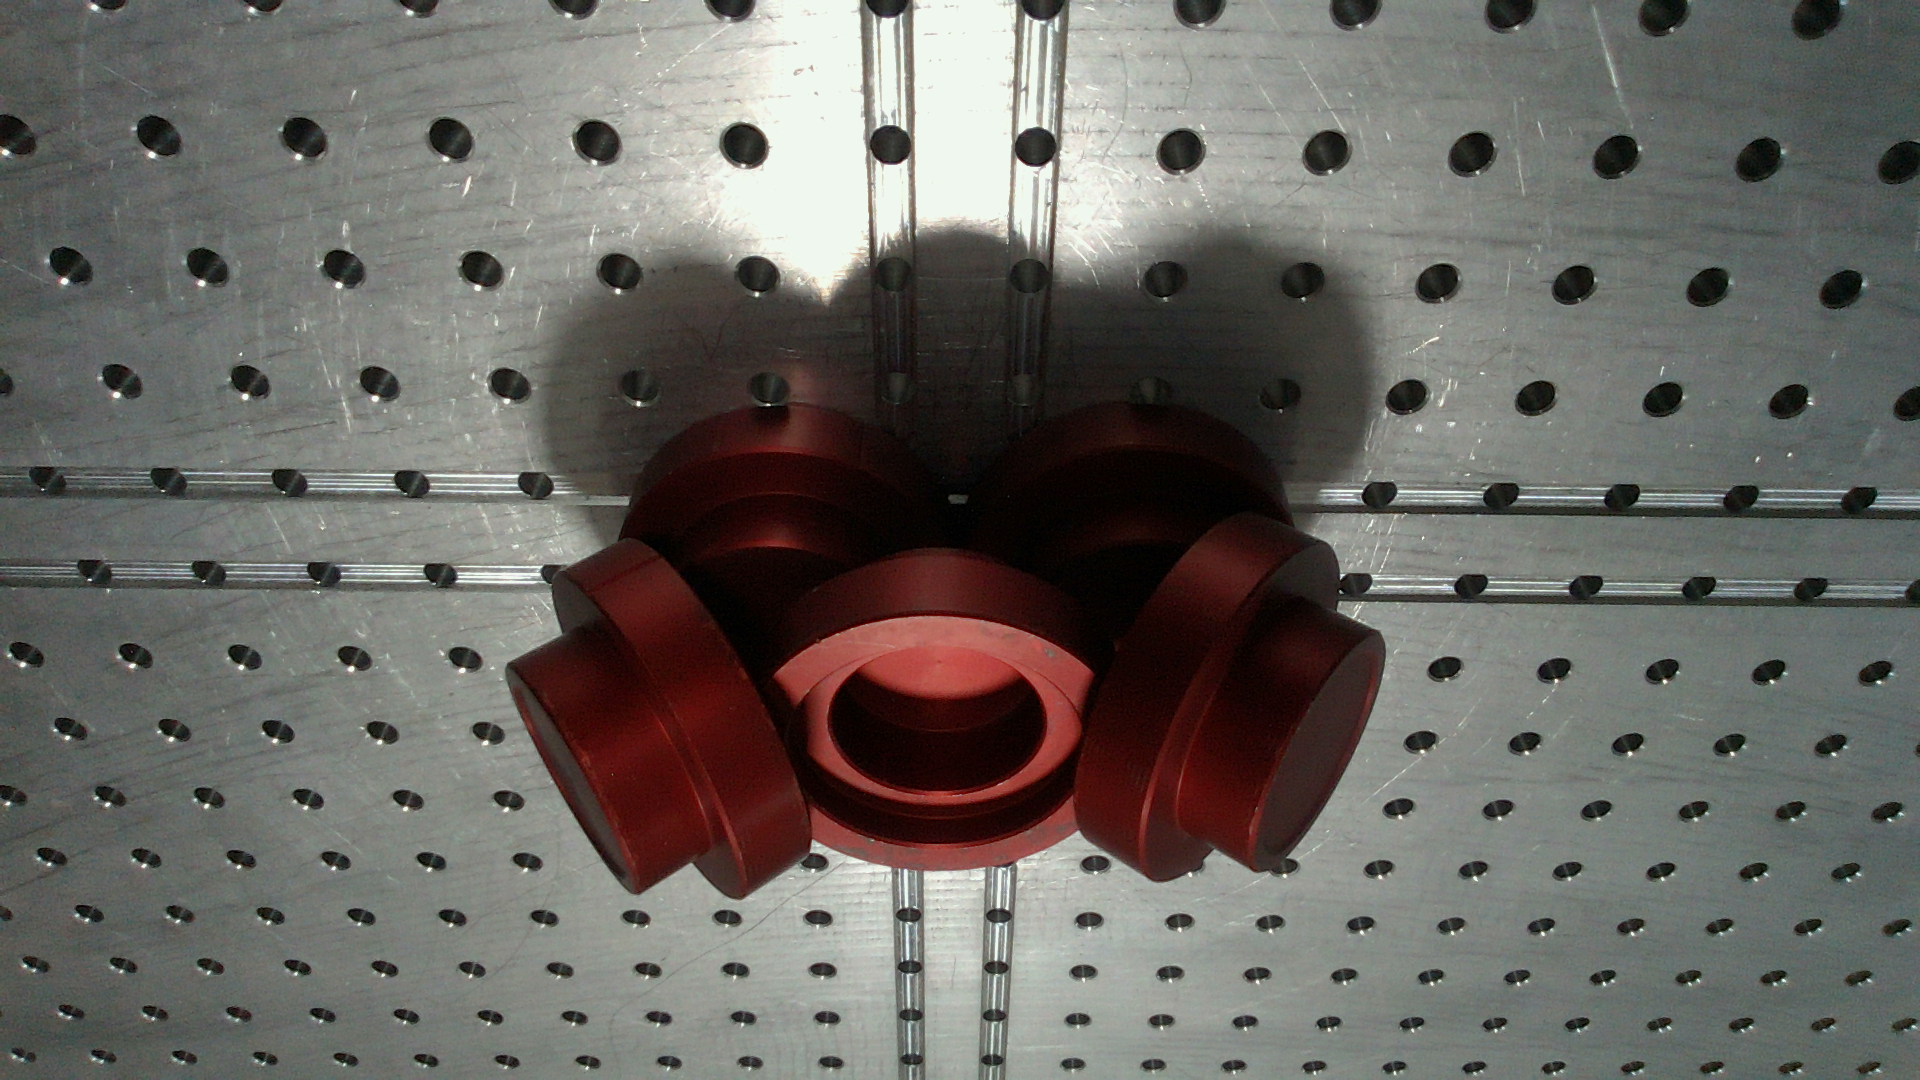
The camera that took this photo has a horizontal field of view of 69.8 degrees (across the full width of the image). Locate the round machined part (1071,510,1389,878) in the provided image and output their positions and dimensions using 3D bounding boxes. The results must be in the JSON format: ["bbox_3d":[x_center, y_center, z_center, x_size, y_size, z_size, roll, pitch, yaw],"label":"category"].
[{"bbox_3d":[0.074,0.045,0.354,0.042,0.098,0.098,29,138,30],"label":"round machined part"}]

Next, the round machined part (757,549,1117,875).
[{"bbox_3d":[-0.005,0.041,0.361,0.098,0.042,0.098,0,130,0],"label":"round machined part"}]

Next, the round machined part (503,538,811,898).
[{"bbox_3d":[-0.083,0.052,0.359,0.042,0.098,0.098,-30,135,-24],"label":"round machined part"}]

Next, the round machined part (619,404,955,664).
[{"bbox_3d":[-0.049,0.013,0.393,0.098,0.042,0.098,0,130,0],"label":"round machined part"}]

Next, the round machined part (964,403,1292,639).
[{"bbox_3d":[0.049,0.013,0.393,0.098,0.042,0.098,0,130,0],"label":"round machined part"}]
